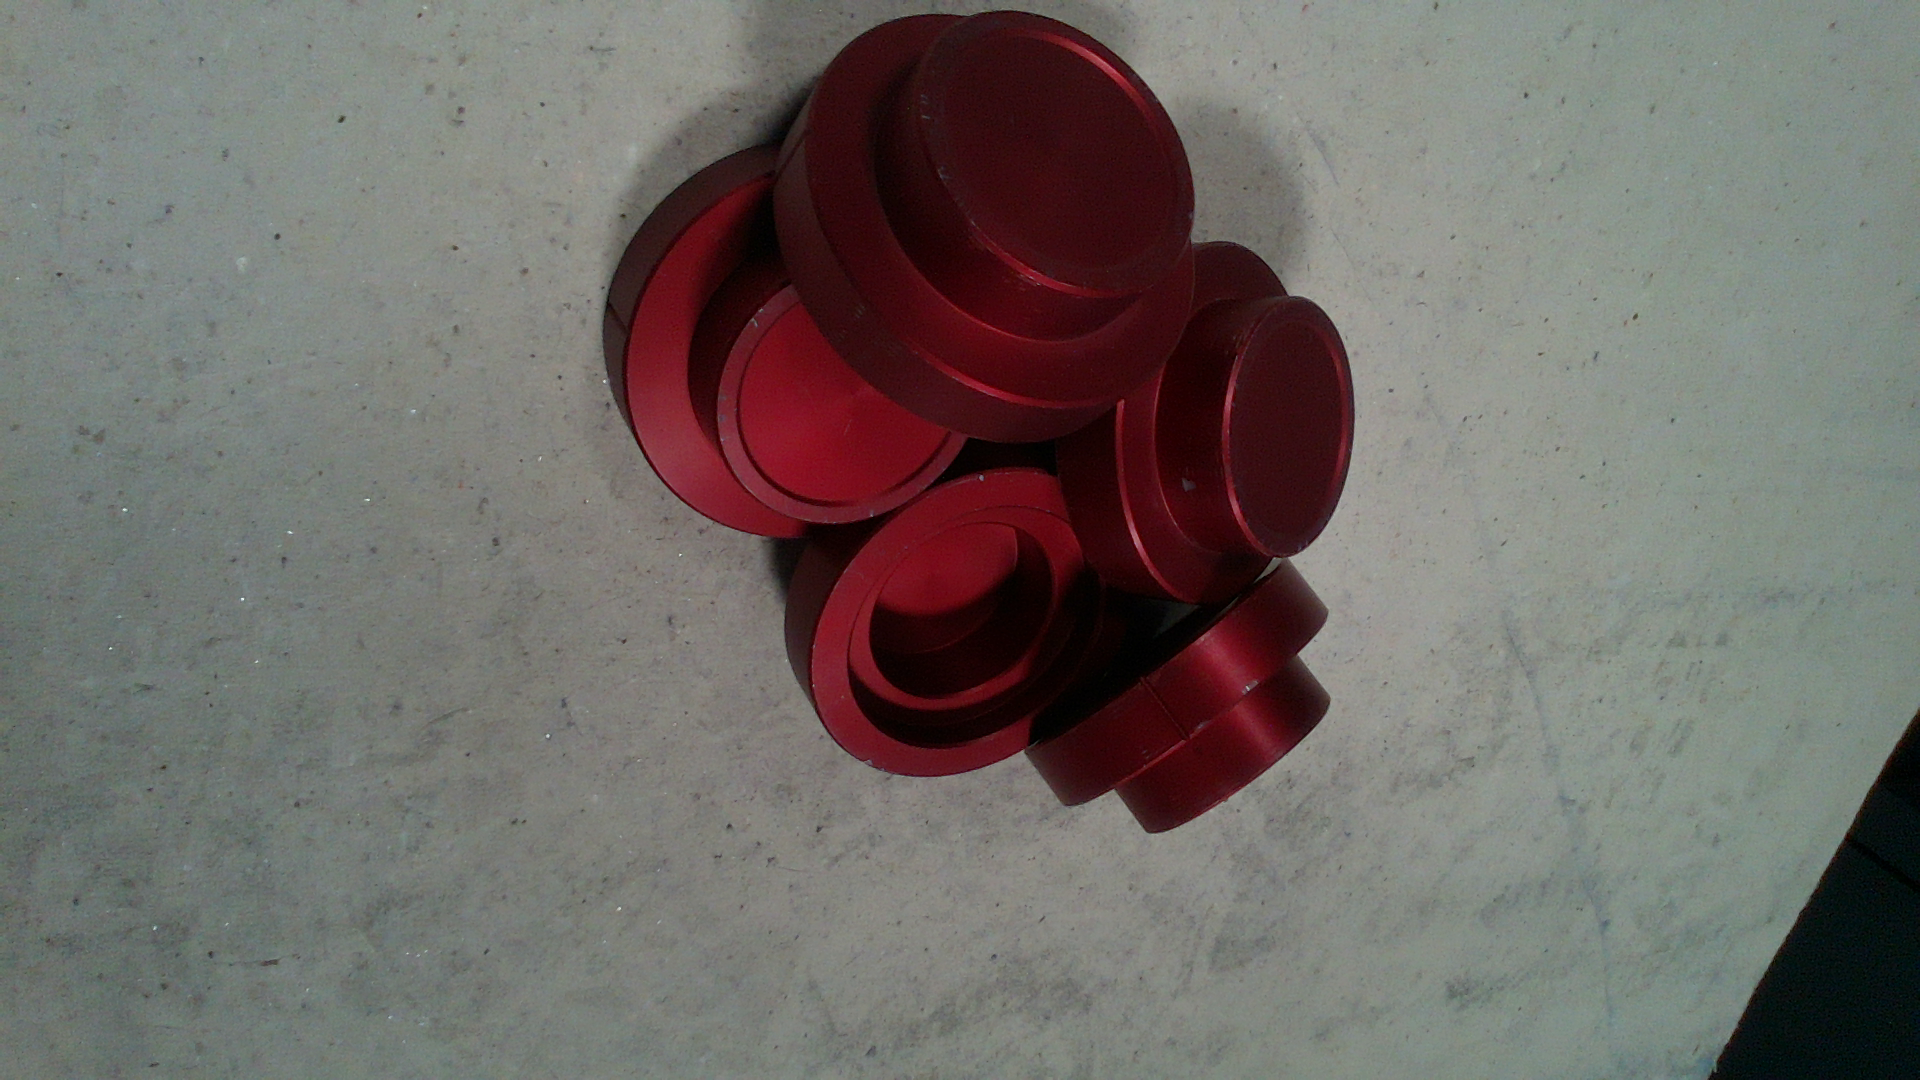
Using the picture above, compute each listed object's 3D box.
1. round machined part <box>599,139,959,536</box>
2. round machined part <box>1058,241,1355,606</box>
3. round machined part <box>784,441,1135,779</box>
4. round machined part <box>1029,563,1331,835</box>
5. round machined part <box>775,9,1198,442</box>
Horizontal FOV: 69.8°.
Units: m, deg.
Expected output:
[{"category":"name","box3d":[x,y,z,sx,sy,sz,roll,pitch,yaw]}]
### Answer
[{"category":"round machined part","box3d":[-0.034,-0.044,0.335,0.098,0.042,0.098,-14,124,-21]},{"category":"round machined part","box3d":[0.072,-0.031,0.371,0.098,0.042,0.098,-8,100,-48]},{"category":"round machined part","box3d":[-0.003,0.015,0.386,0.098,0.042,0.098,-14,124,-21]},{"category":"round machined part","box3d":[0.071,0.051,0.412,0.098,0.098,0.042,-37,88,-3]},{"category":"round machined part","box3d":[0.013,-0.075,0.302,0.098,0.098,0.042,1,160,-29]}]
